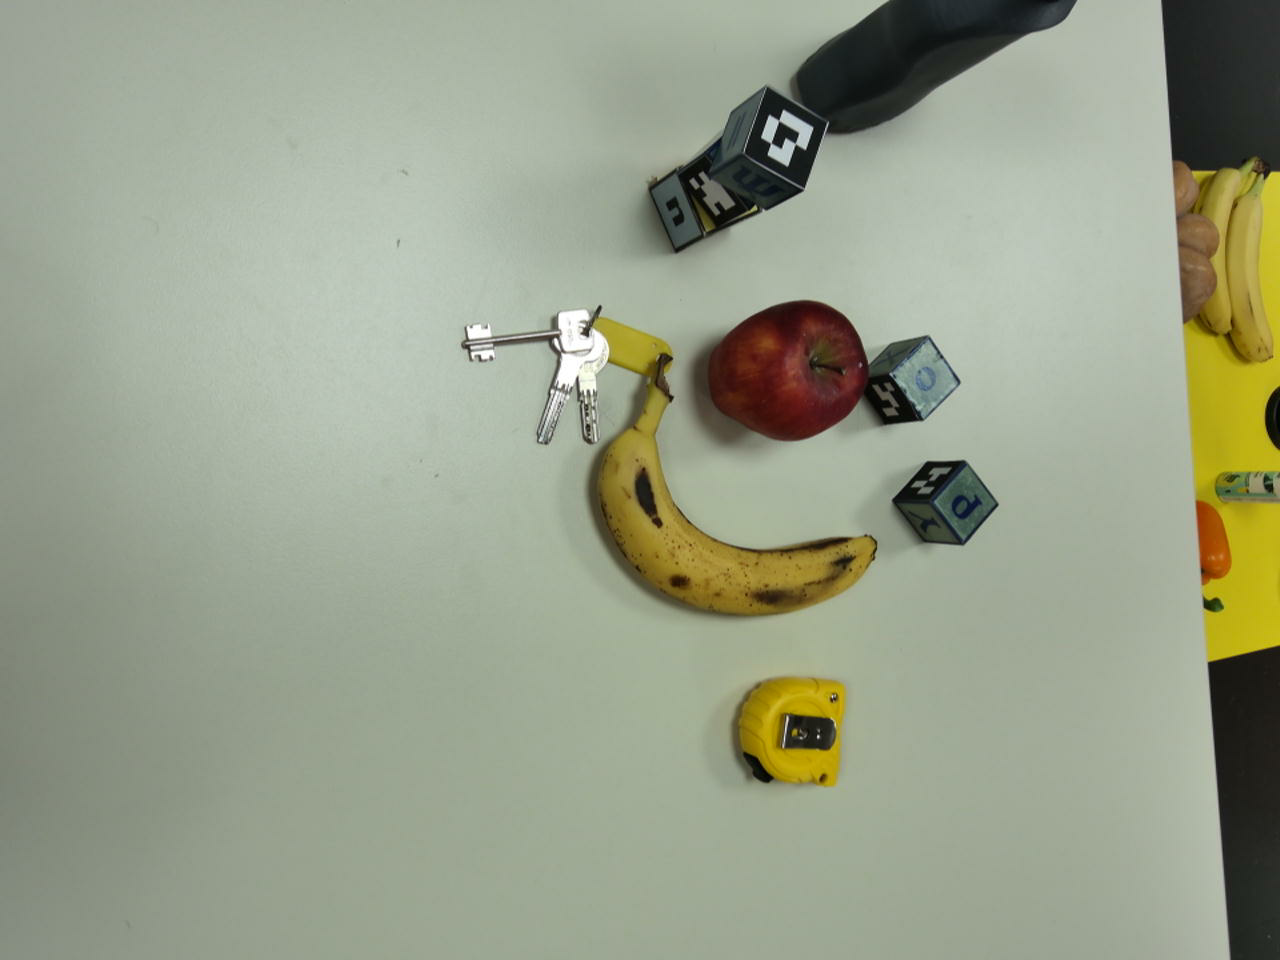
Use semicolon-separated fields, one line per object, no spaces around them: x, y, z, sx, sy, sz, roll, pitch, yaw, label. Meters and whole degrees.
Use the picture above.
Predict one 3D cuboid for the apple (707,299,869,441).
0.084;-0.060;0.553;0.083;0.090;0.083;0;90;-22;apple
